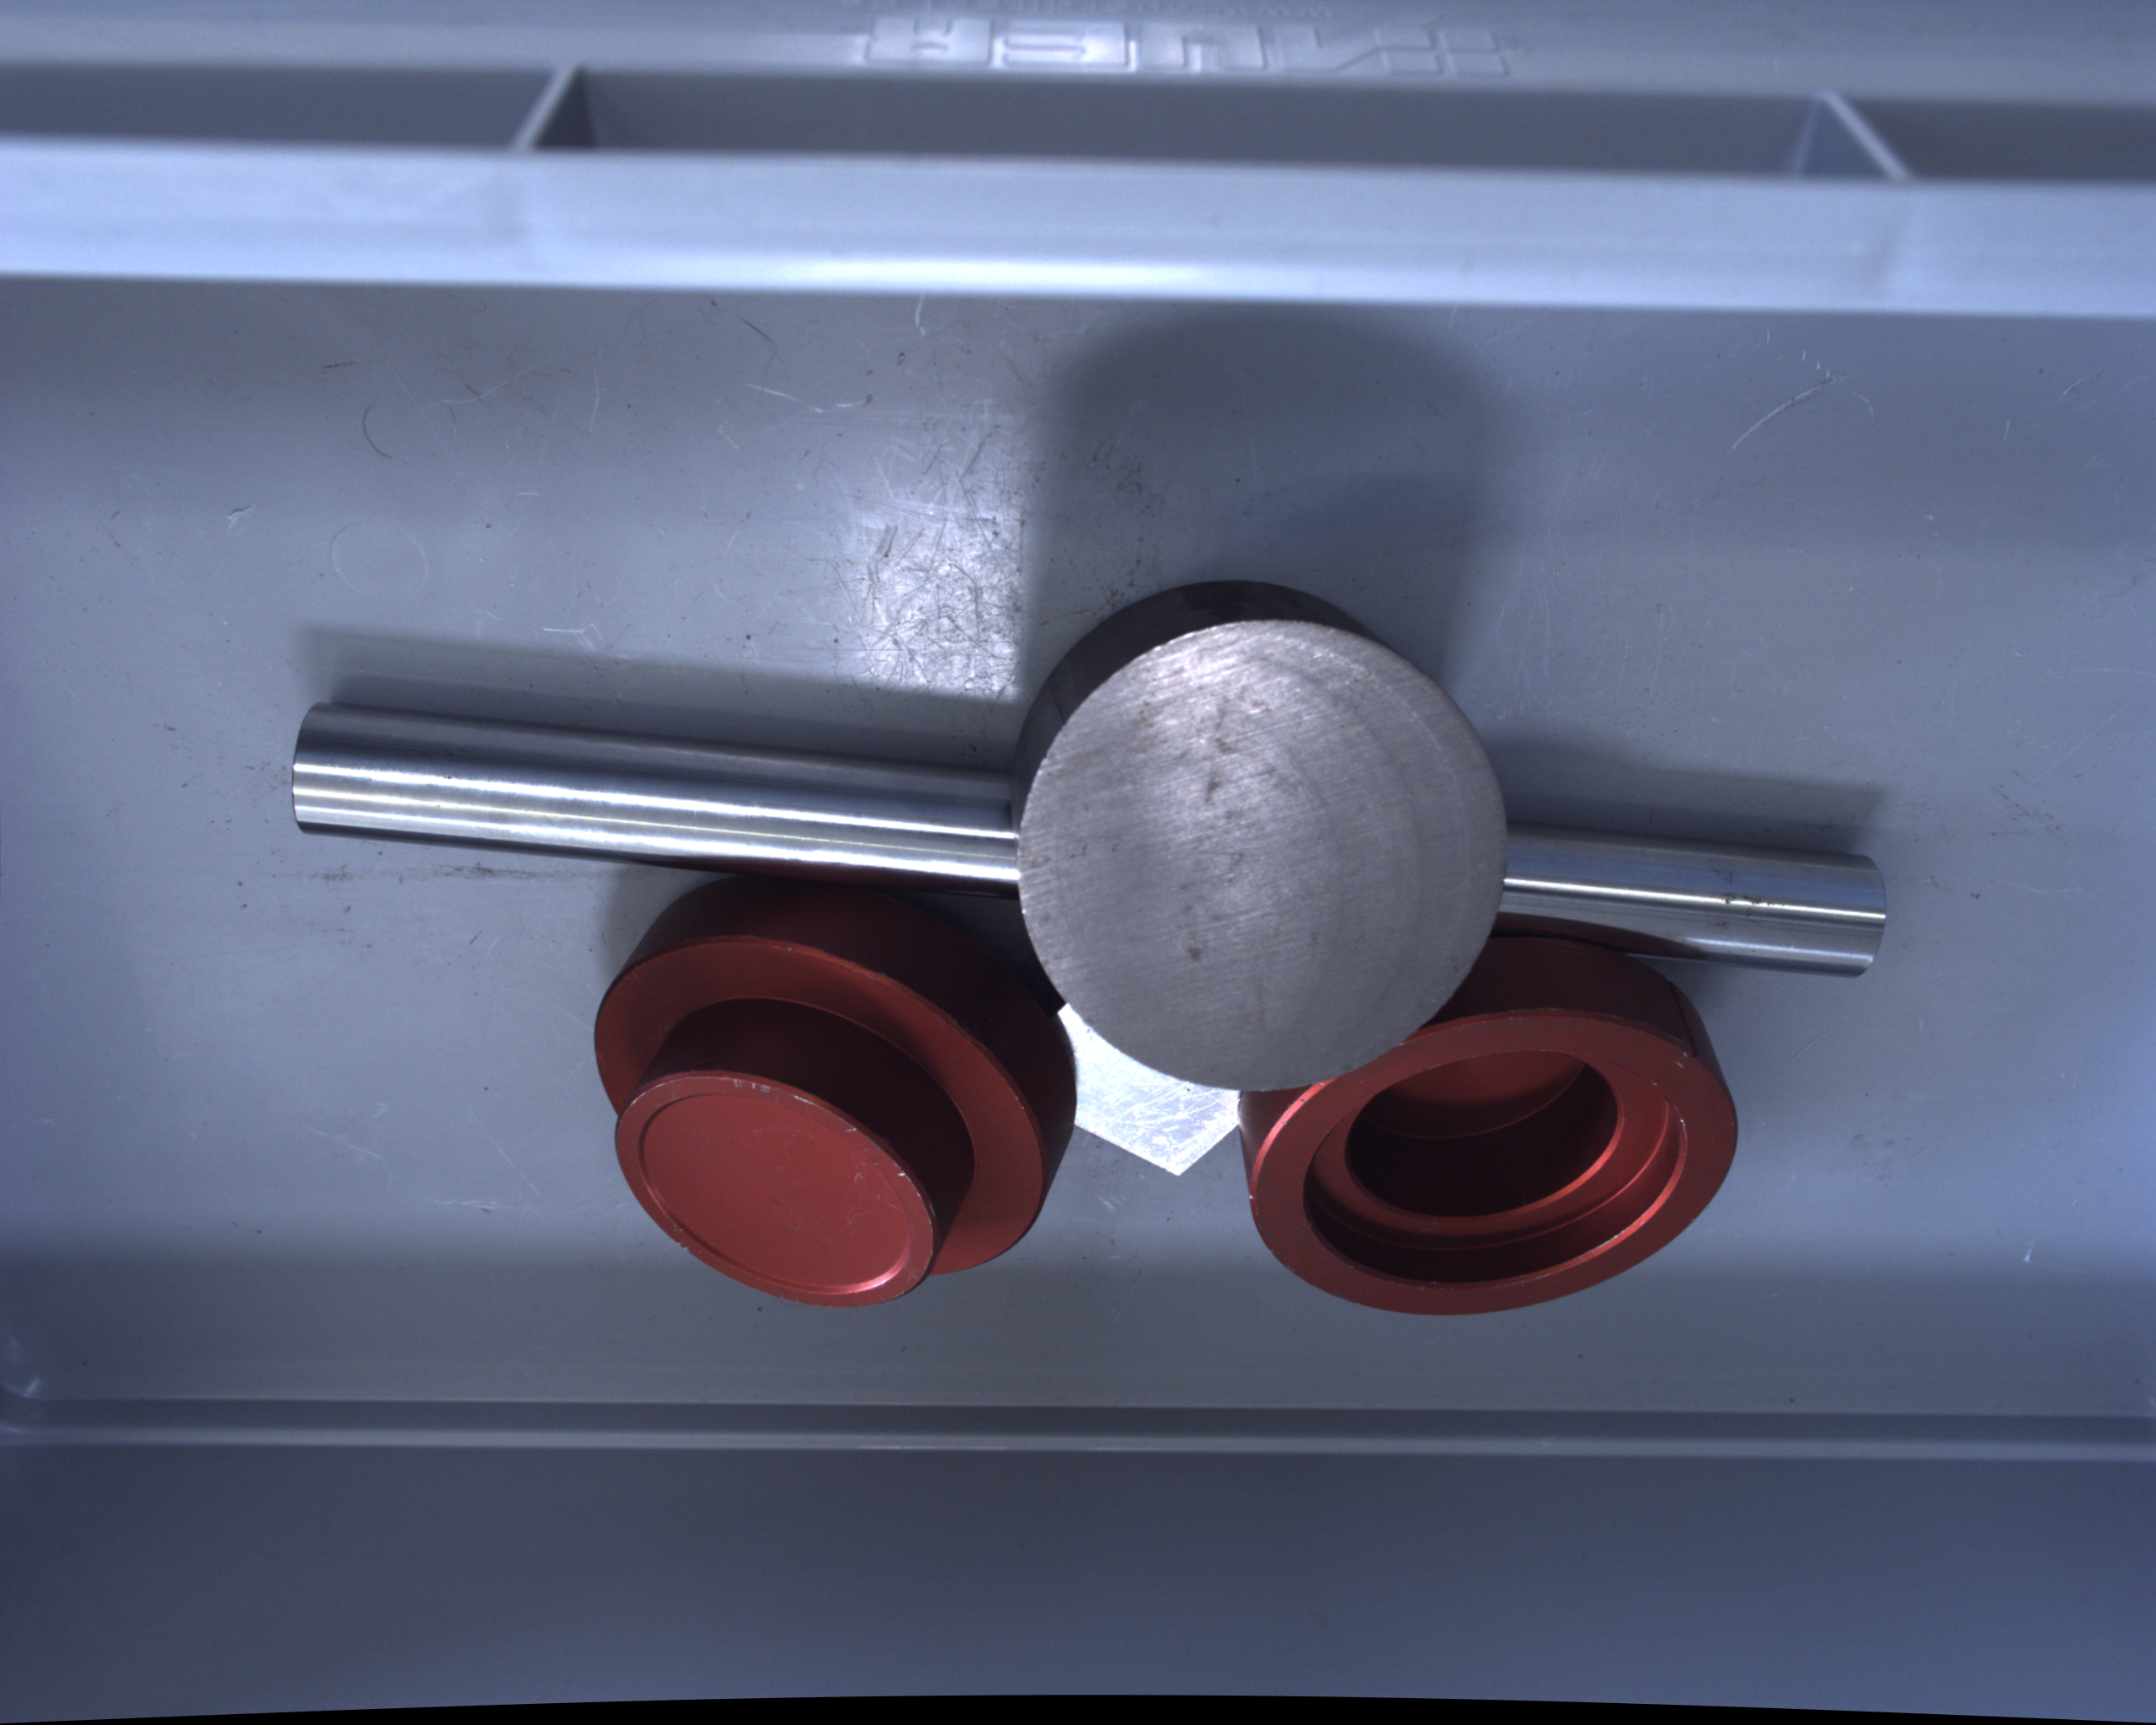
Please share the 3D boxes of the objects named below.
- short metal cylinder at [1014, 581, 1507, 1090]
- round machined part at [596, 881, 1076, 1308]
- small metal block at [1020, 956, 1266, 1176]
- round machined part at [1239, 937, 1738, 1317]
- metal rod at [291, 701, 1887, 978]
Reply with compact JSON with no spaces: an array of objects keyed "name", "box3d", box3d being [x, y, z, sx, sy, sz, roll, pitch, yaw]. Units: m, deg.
[{"name":"short metal cylinder","box3d":[0.029,-0.006,0.366,0.081,0.050,0.079,-1,105,-3]},{"name":"round machined part","box3d":[-0.053,0.052,0.423,0.098,0.042,0.097,12,133,13]},{"name":"small metal block","box3d":[0.016,0.033,0.435,0.050,0.025,0.050,29,124,-23]},{"name":"round machined part","box3d":[0.083,0.049,0.436,0.099,0.042,0.097,-2,133,-2]},{"name":"metal rod","box3d":[0.006,-0.004,0.404,0.302,0.025,0.025,5,130,-5]}]
